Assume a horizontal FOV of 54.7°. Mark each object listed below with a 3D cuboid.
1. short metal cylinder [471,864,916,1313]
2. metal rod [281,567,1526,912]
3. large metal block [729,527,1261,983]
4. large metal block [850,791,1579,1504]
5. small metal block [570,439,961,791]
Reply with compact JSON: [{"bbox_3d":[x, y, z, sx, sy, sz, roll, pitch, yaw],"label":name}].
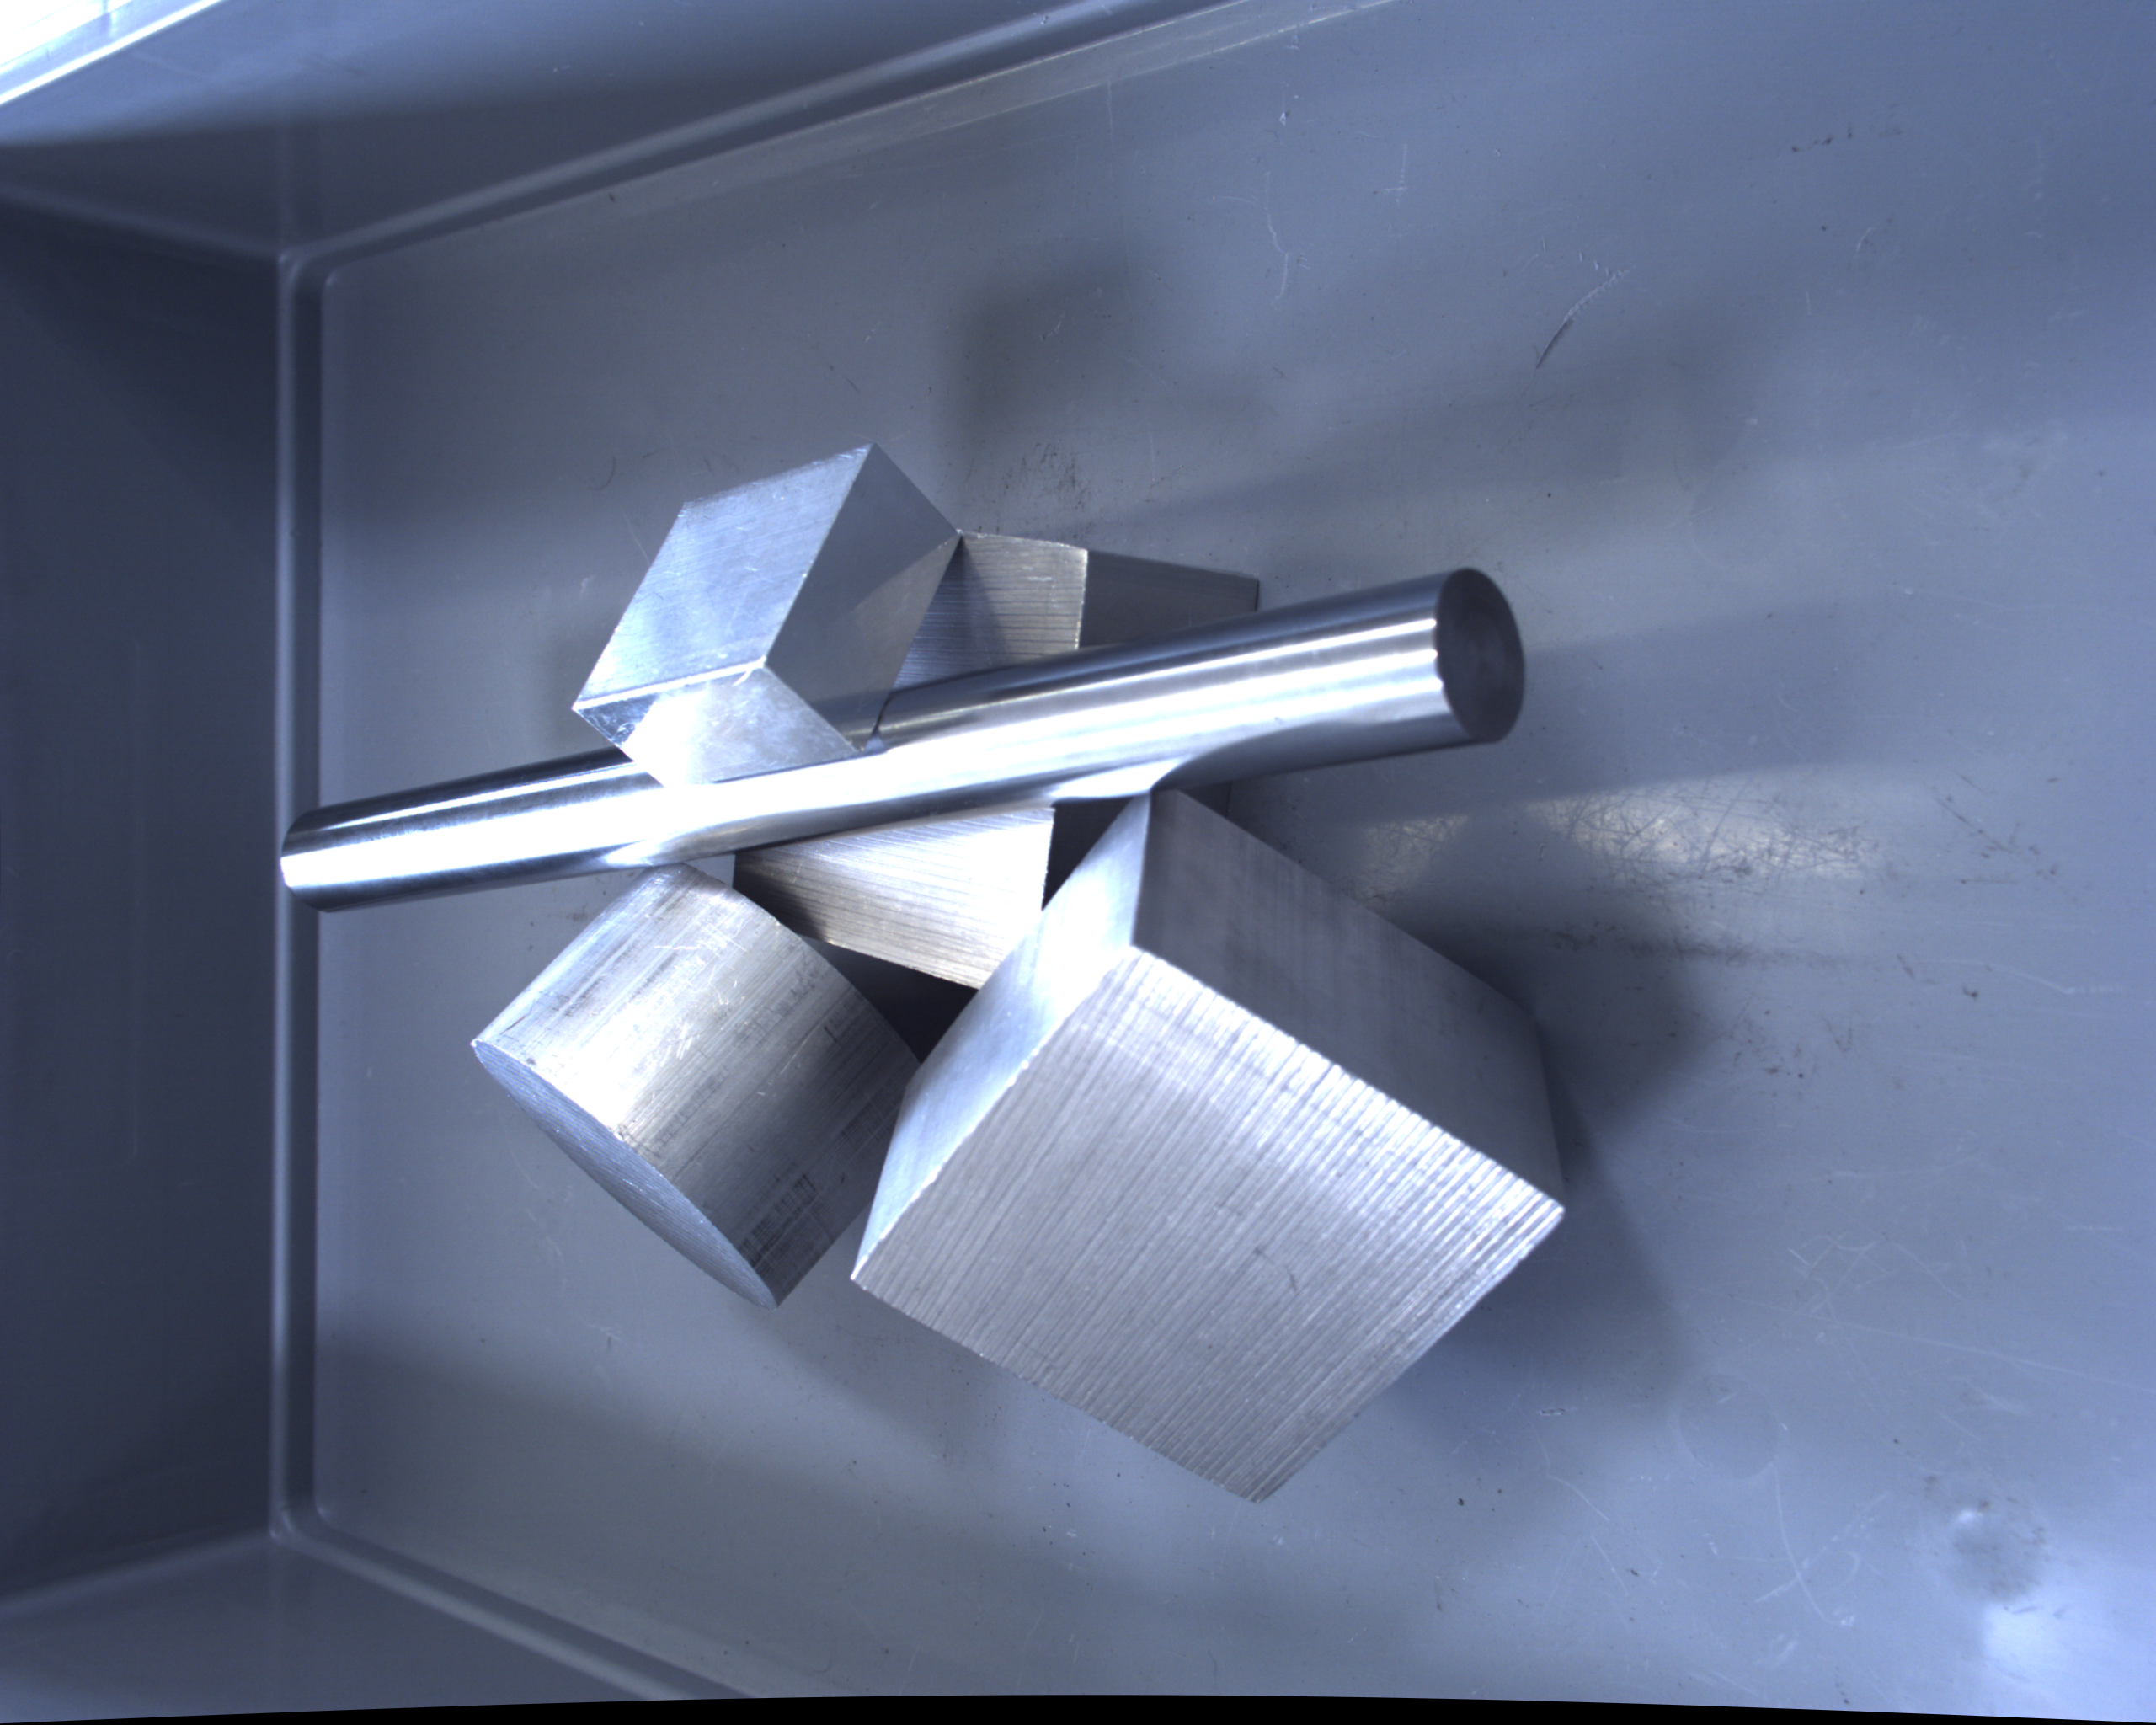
[{"bbox_3d":[-0.075,0.045,0.422,0.080,0.080,0.050,25,63,37],"label":"short metal cylinder"},{"bbox_3d":[-0.058,-0.015,0.387,0.300,0.025,0.025,-7,86,40],"label":"metal rod"},{"bbox_3d":[-0.018,-0.023,0.403,0.080,0.050,0.079,14,99,39],"label":"large metal block"},{"bbox_3d":[0.022,0.046,0.343,0.080,0.050,0.080,31,118,-12],"label":"large metal block"},{"bbox_3d":[-0.055,-0.043,0.369,0.050,0.025,0.050,-7,50,40],"label":"small metal block"}]
